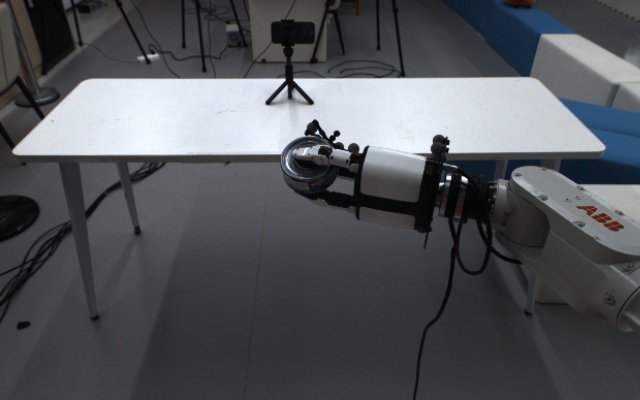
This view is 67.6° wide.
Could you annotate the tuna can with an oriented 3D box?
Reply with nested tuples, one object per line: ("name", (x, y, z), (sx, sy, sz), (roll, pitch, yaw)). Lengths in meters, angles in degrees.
("tuna can", (-0.015, -0.055, 0.723), (0.085, 0.034, 0.085), (-4, 57, 6))
